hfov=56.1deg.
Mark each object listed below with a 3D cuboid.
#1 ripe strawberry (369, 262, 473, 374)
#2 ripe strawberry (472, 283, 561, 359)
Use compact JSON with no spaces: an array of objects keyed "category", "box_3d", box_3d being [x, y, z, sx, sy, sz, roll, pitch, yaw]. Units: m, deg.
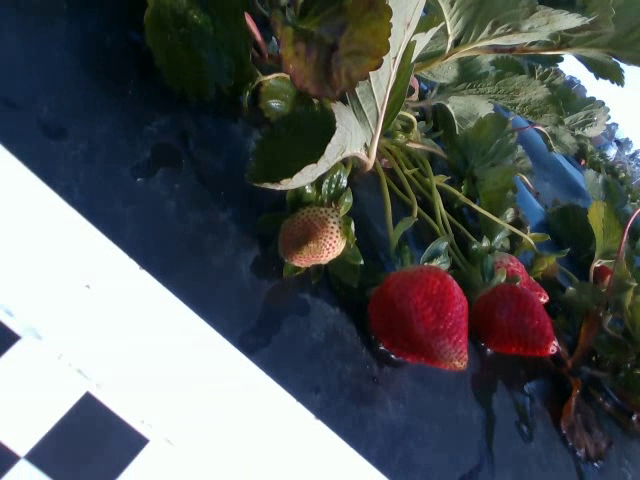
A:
[{"category":"ripe strawberry","box_3d":[0.050,0.037,0.263,0.050,0.049,0.065,4,22,-17]},{"category":"ripe strawberry","box_3d":[0.108,0.049,0.325,0.044,0.041,0.055,-20,35,-22]}]
